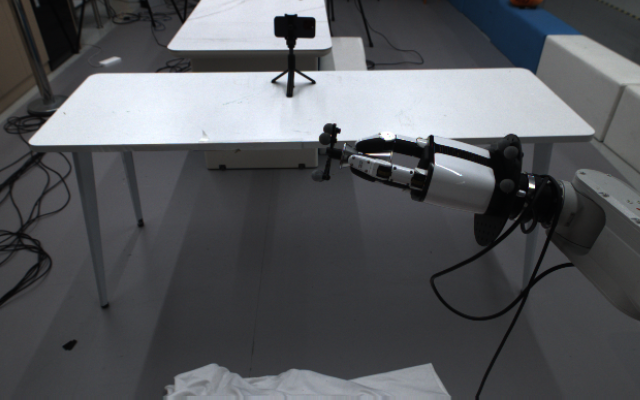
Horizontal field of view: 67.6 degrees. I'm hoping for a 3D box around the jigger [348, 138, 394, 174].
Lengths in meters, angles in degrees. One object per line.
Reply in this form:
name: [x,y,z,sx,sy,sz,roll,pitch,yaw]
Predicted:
jigger: [0.071,-0.058,0.679,0.071,0.043,0.043,12,36,5]
